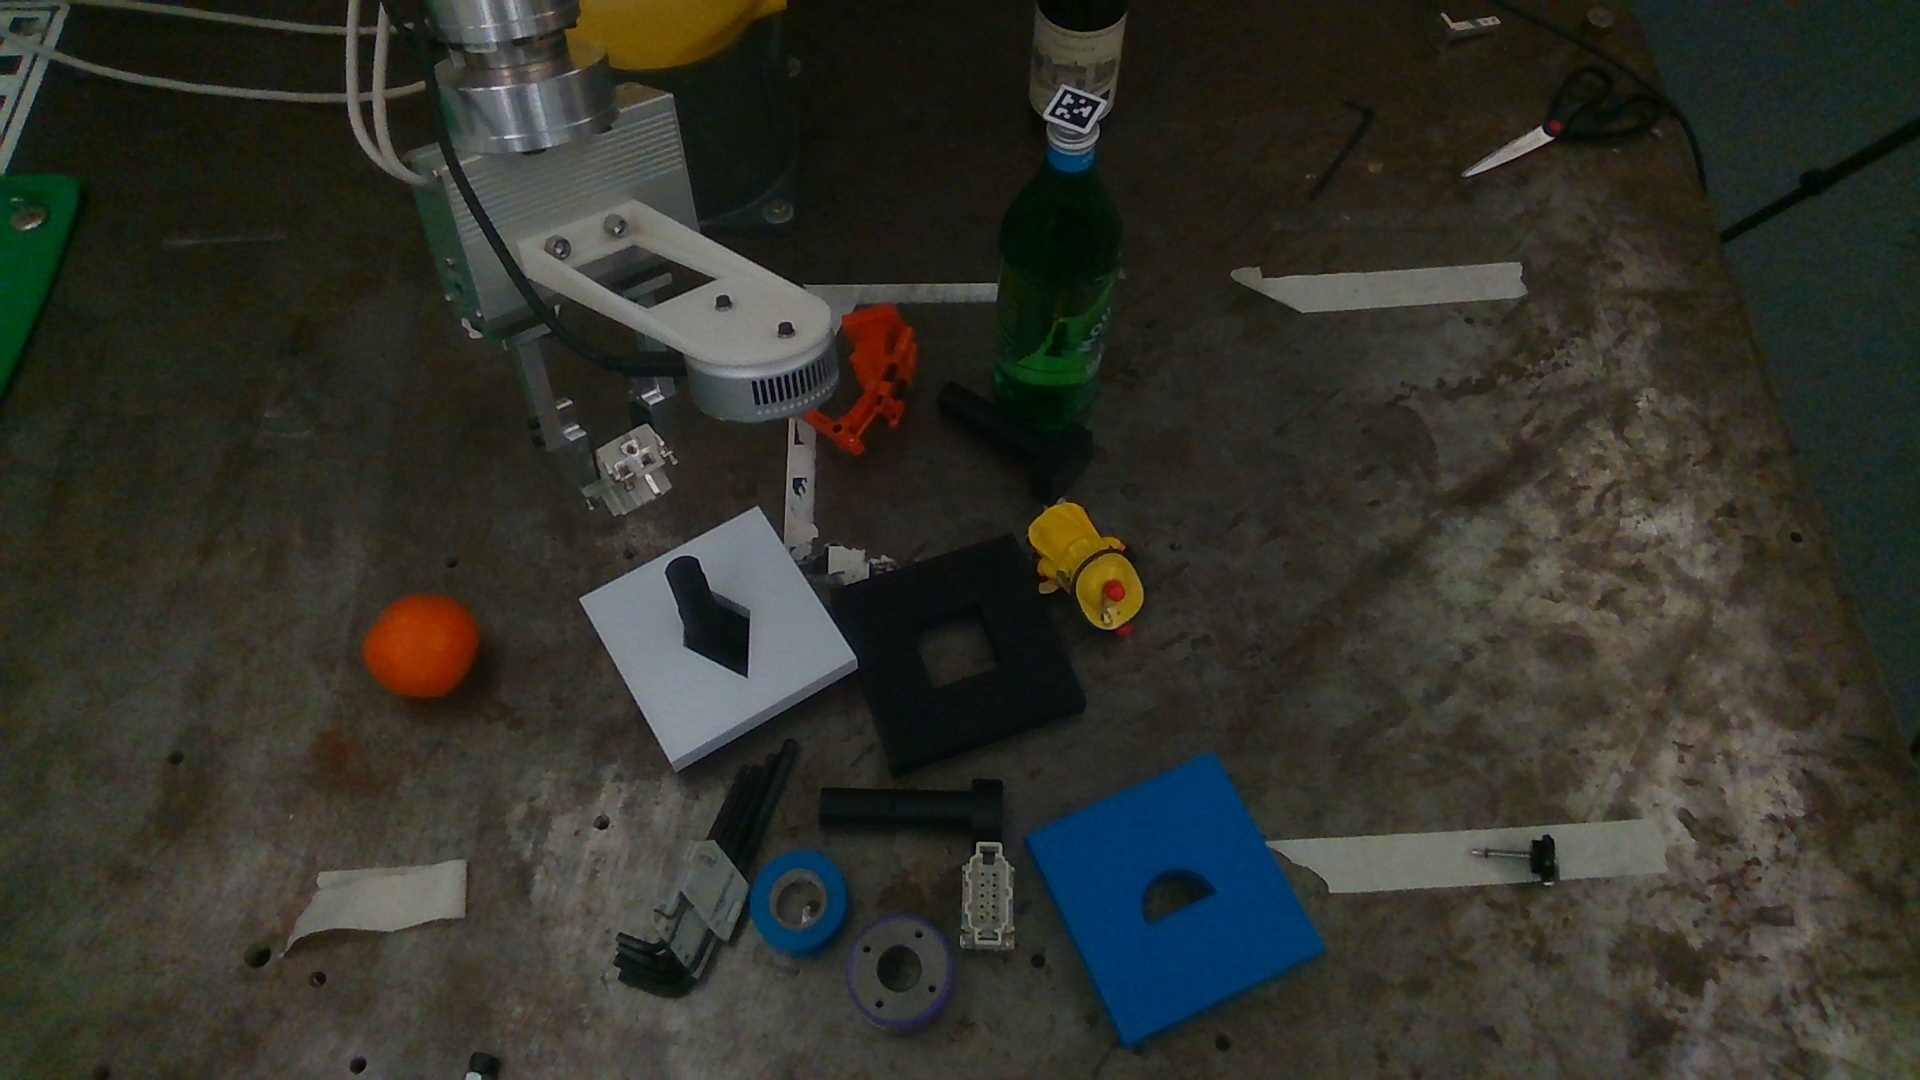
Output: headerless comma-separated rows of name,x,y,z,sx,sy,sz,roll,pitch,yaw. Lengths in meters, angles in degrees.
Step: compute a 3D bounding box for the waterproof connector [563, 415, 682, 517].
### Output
waterproof connector,-0.172,-0.035,0.707,0.036,0.069,0.038,-35,101,-36
